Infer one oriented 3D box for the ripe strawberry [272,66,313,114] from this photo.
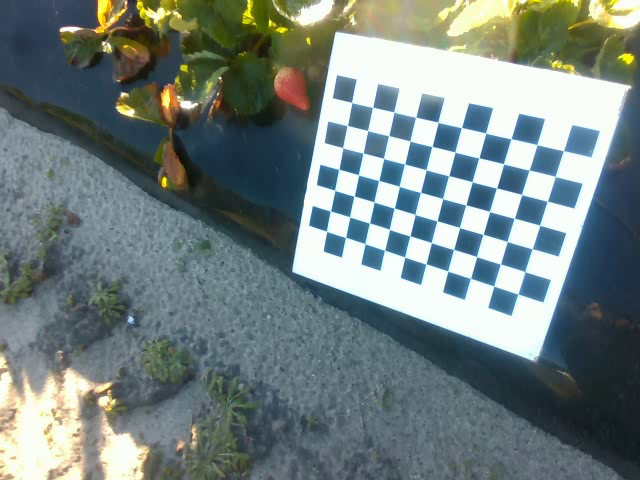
[{"bbox_3d":[-0.036,-0.179,0.757,0.040,0.065,0.040,-36,-6,26],"label":"ripe strawberry"}]
